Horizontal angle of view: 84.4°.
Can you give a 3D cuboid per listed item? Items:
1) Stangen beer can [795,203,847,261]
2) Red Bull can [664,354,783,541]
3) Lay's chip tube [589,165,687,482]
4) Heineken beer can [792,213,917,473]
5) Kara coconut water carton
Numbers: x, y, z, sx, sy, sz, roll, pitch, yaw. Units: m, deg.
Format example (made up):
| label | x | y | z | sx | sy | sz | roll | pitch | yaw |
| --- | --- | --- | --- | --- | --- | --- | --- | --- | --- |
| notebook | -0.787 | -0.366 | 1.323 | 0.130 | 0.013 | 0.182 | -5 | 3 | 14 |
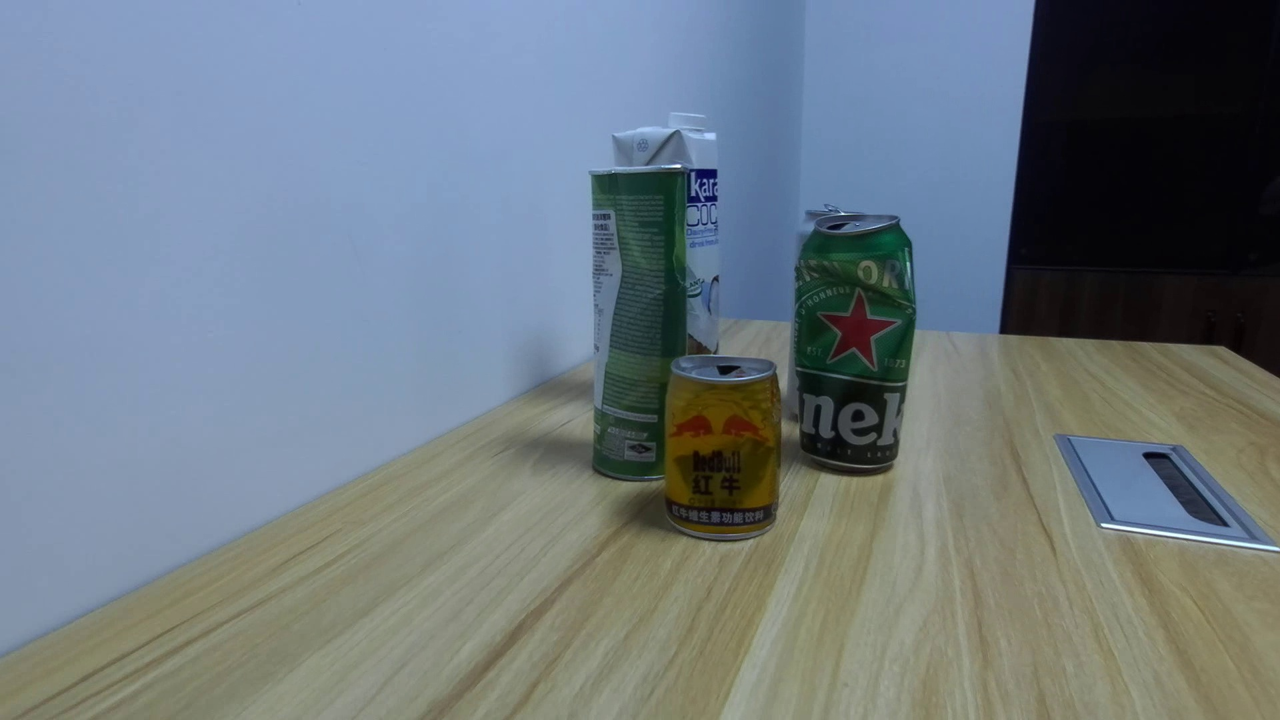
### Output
| label | x | y | z | sx | sy | sz | roll | pitch | yaw |
| --- | --- | --- | --- | --- | --- | --- | --- | --- | --- |
| Stangen beer can | 0.150 | -0.020 | 0.501 | 0.070 | 0.173 | 0.070 | 12 | 30 | 32 |
| Red Bull can | 0.047 | 0.046 | 0.402 | 0.072 | 0.092 | 0.072 | -1 | 14 | 1 |
| Lay's chip tube | -0.002 | -0.023 | 0.469 | 0.074 | 0.199 | 0.069 | 3 | 14 | 13 |
| Heineken beer can | 0.143 | -0.010 | 0.475 | 0.069 | 0.168 | 0.068 | -5 | 15 | -5 |
| Kara coconut water carton | 0.027 | -0.079 | 0.599 | 0.075 | 0.245 | 0.077 | 5 | 16 | 31 |
